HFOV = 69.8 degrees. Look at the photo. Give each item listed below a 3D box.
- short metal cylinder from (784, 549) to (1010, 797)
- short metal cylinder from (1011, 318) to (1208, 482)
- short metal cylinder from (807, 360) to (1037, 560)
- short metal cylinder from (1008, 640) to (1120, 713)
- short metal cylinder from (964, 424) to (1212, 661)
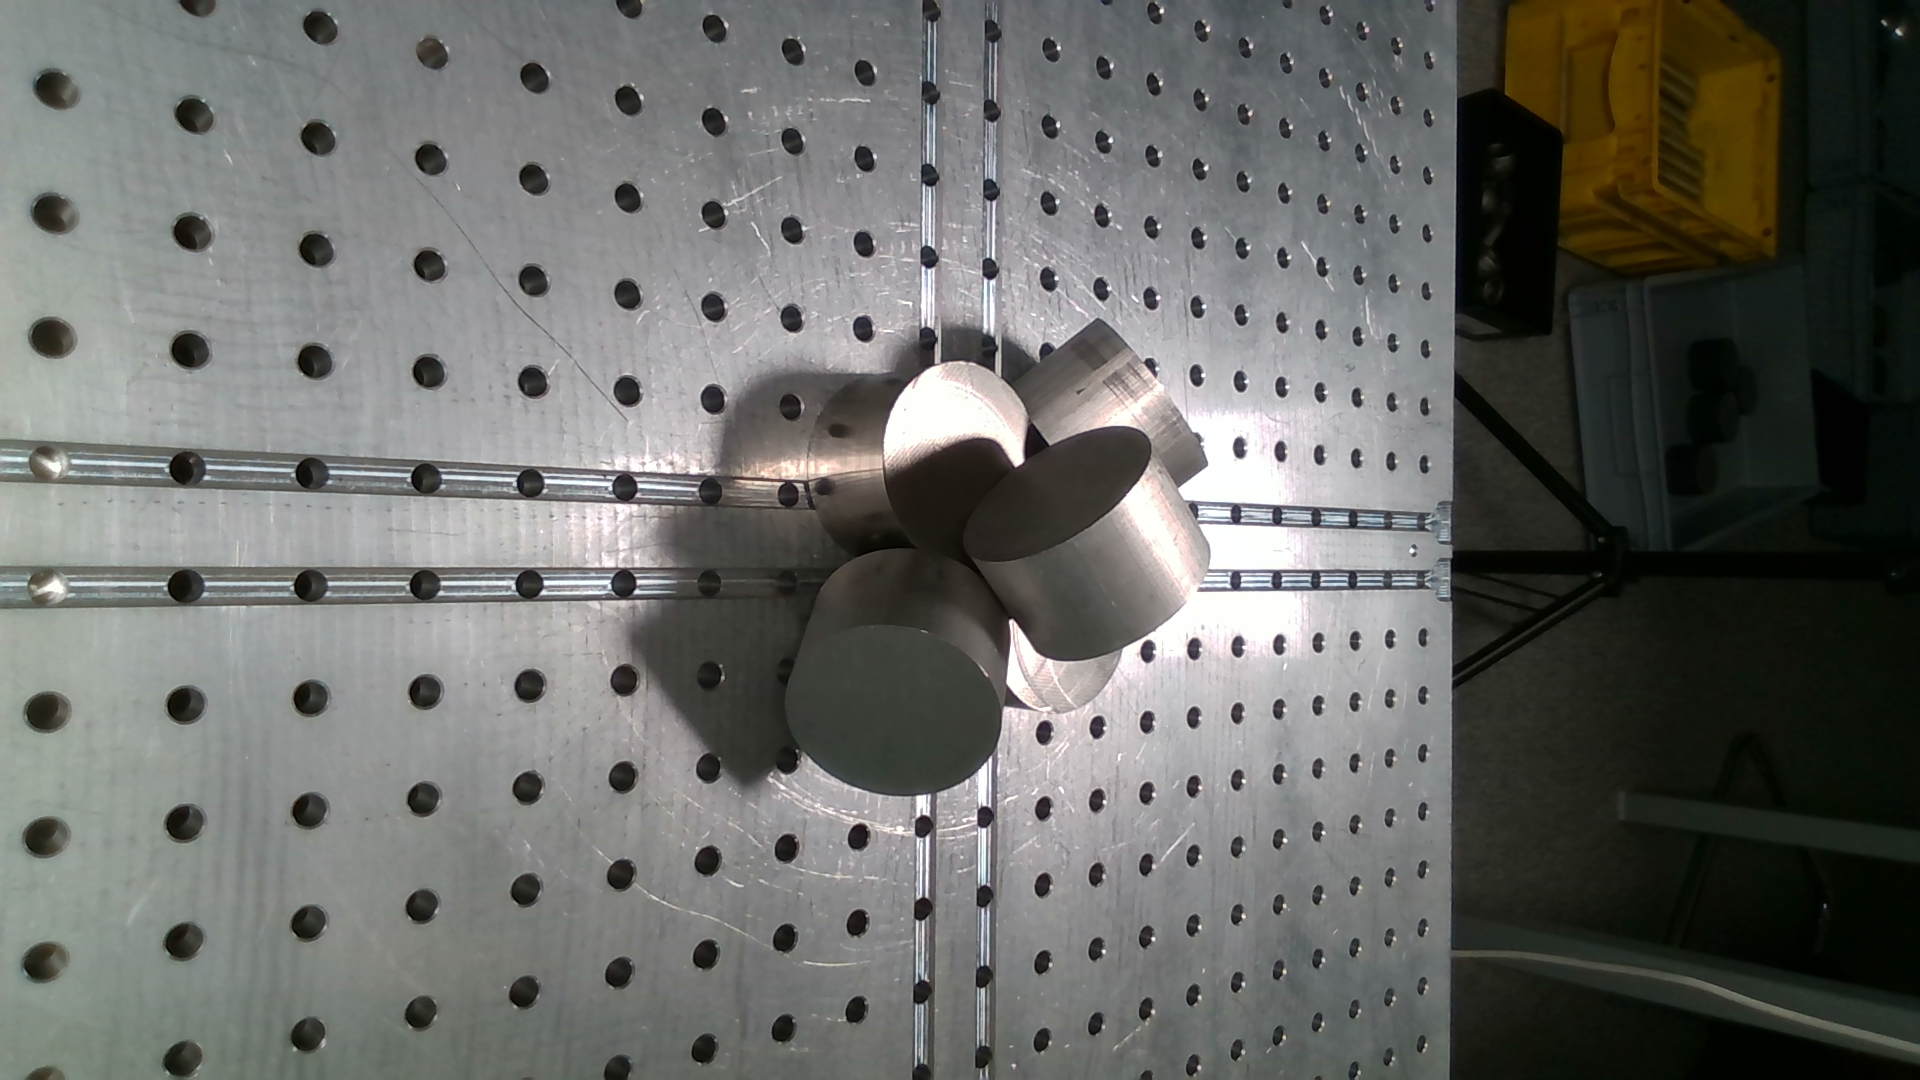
[{"bbox_3d":[-0.022,0.050,0.522,0.080,0.080,0.050,57,22,-25],"label":"short metal cylinder"},{"bbox_3d":[0.062,-0.049,0.594,0.050,0.080,0.080,-37,118,3],"label":"short metal cylinder"},{"bbox_3d":[-0.015,-0.030,0.557,0.080,0.050,0.080,0,90,-40],"label":"short metal cylinder"},{"bbox_3d":[0.026,0.032,0.591,0.080,0.050,0.080,0,90,-40],"label":"short metal cylinder"},{"bbox_3d":[0.049,0.000,0.524,0.080,0.080,0.050,-49,119,-29],"label":"short metal cylinder"}]
